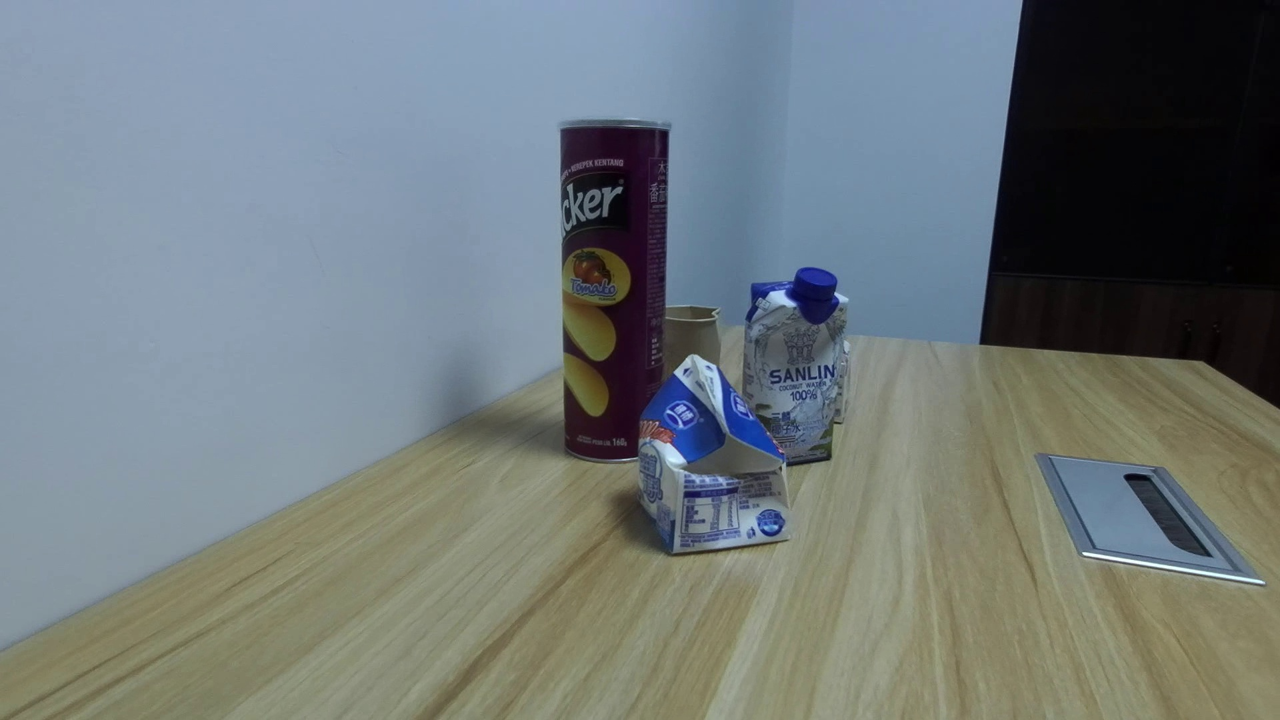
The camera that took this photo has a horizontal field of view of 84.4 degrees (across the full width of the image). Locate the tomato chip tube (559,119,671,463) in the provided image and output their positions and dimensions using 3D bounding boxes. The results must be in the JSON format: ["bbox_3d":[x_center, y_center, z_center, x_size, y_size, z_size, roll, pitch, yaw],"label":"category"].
[{"bbox_3d":[-0.017,-0.048,0.513,0.078,0.233,0.078,1,13,0],"label":"tomato chip tube"}]

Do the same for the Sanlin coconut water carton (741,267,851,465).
[{"bbox_3d":[0.109,0.004,0.505,0.078,0.142,0.057,-5,20,-22],"label":"Sanlin coconut water carton"}]

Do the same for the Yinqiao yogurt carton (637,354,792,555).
[{"bbox_3d":[0.041,0.049,0.411,0.077,0.093,0.083,-4,15,-14],"label":"Yinqiao yogurt carton"}]
